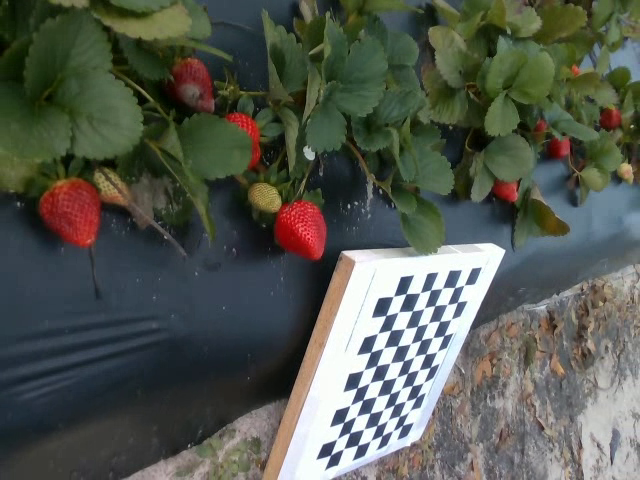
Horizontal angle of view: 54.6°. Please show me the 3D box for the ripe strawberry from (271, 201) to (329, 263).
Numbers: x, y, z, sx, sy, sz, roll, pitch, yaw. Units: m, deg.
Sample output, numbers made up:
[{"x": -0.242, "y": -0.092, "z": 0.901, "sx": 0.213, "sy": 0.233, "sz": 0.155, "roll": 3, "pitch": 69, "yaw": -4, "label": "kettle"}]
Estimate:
[{"x": -0.013, "y": -0.002, "z": 0.529, "sx": 0.057, "sy": 0.056, "sz": 0.065, "roll": -26, "pitch": 47, "yaw": -8, "label": "ripe strawberry"}]

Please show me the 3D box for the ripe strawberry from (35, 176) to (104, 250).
[{"x": -0.154, "y": -0.017, "z": 0.389, "sx": 0.043, "sy": 0.052, "sz": 0.041, "roll": -19, "pitch": -6, "yaw": -32, "label": "ripe strawberry"}]
